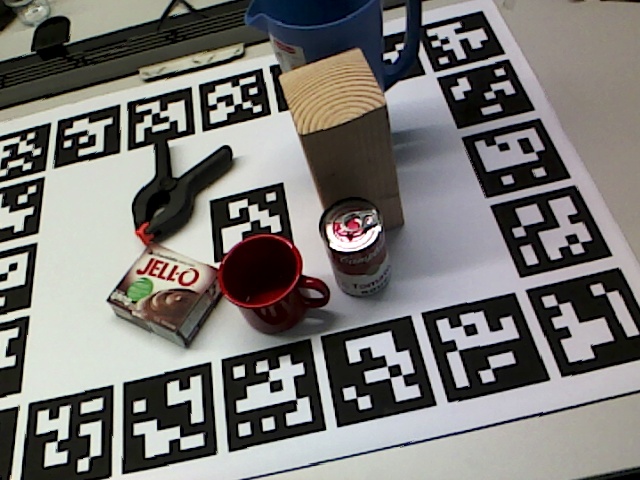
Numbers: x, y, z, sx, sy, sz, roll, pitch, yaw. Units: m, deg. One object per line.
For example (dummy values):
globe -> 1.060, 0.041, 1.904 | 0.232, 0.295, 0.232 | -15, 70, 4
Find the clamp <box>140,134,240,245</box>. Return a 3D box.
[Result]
clamp -> -0.191, -0.068, 0.832 | 0.122, 0.036, 0.165 | 14, 61, 14

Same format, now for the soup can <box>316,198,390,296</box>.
soup can -> 0.038, 0.010, 0.673 | 0.068, 0.101, 0.068 | -6, 58, 9

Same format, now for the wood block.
wood block -> 0.031, -0.095, 0.682 | 0.090, 0.205, 0.091 | -15, 54, -1

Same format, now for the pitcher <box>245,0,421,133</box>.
pitcher -> 0.032, -0.207, 0.738 | 0.189, 0.241, 0.134 | -16, 52, 6

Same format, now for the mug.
mug -> -0.046, 0.055, 0.678 | 0.118, 0.081, 0.093 | 17, 60, 24

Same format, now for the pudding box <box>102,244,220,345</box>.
pudding box -> -0.186, 0.064, 0.736 | 0.114, 0.038, 0.090 | 19, 66, 25
